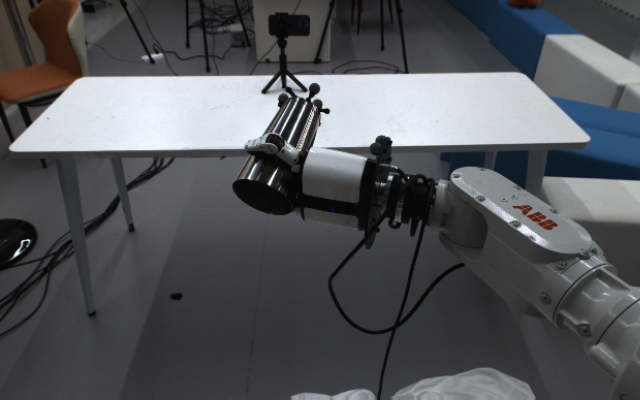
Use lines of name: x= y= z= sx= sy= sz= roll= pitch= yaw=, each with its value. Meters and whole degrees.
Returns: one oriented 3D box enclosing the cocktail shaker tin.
cocktail shaker tin: x=-0.059 y=-0.073 z=0.731 sx=0.093 sy=0.093 sz=0.170 roll=14 pitch=60 yaw=16
